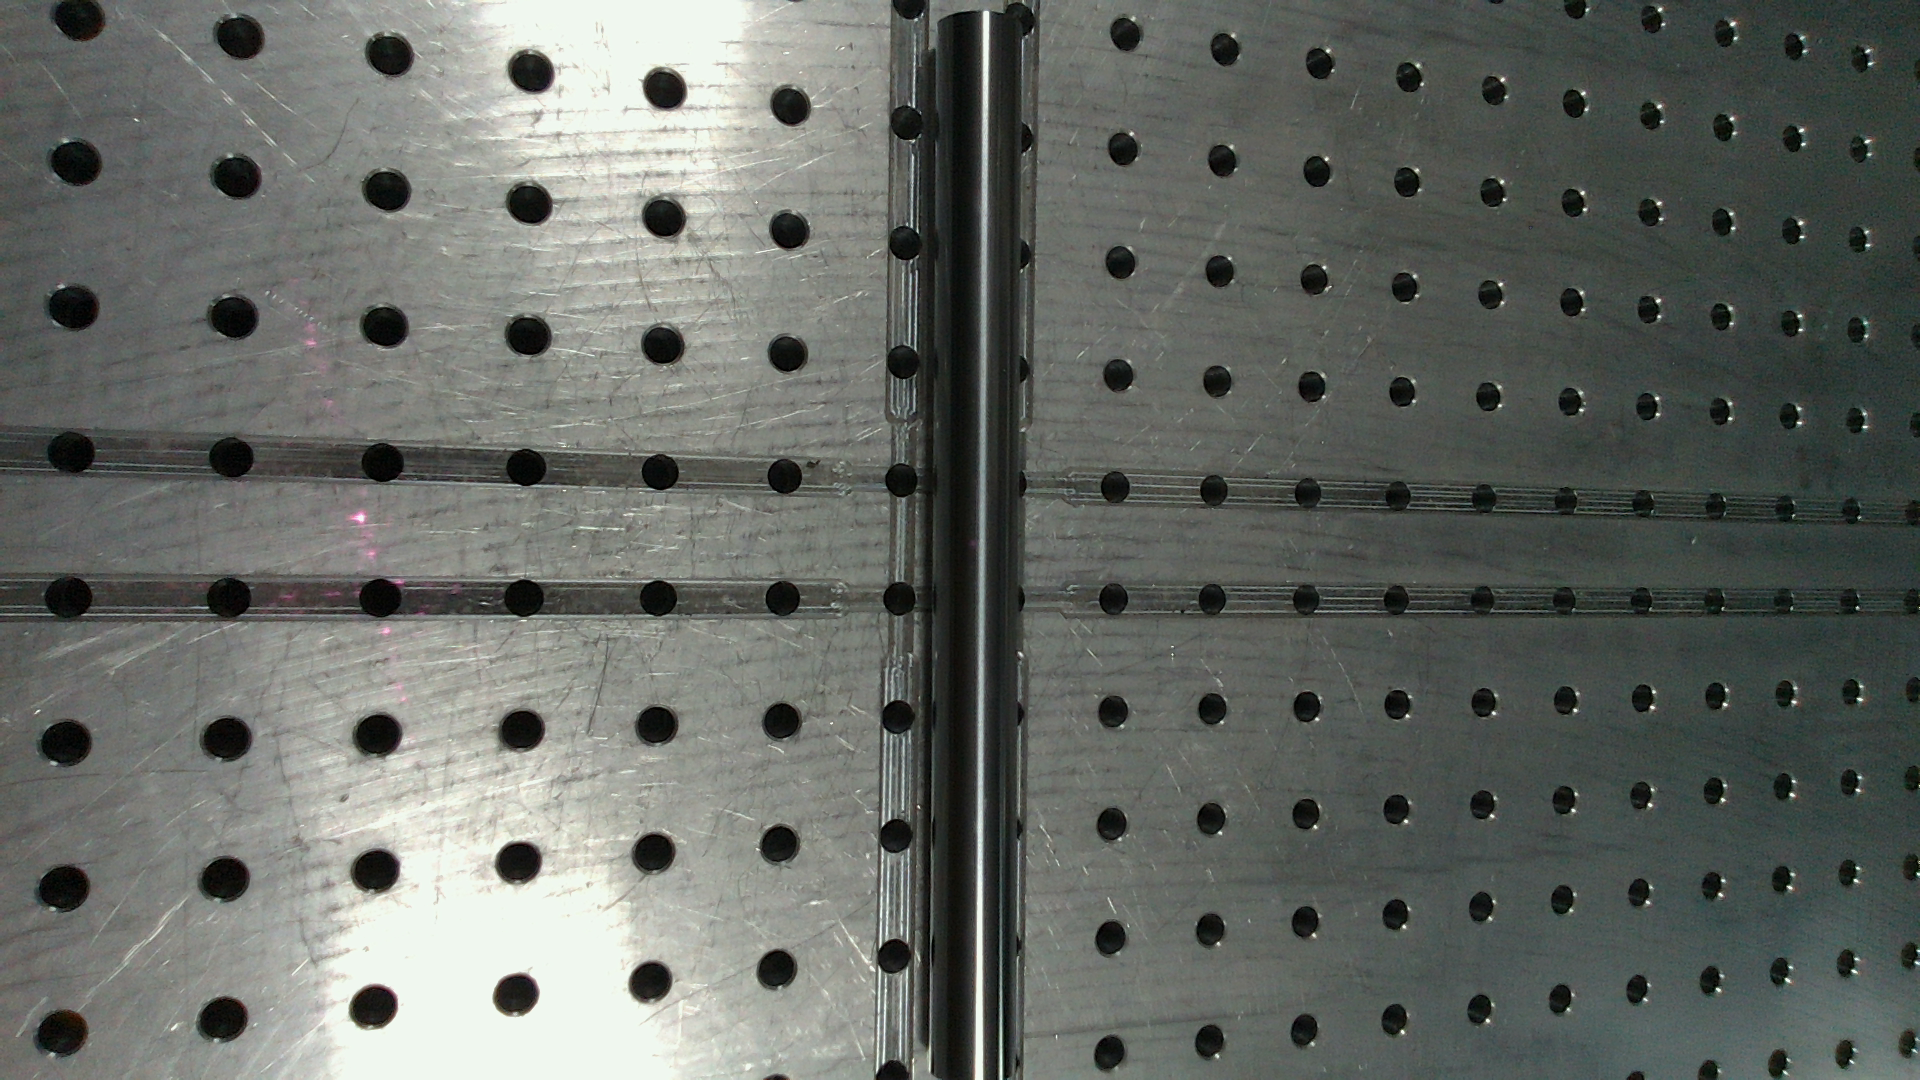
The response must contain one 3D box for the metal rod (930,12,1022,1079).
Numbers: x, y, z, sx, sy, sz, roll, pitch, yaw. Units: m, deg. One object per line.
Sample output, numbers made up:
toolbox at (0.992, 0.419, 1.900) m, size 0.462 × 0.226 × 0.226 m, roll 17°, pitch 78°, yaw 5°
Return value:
metal rod at (0.005, 0.002, 0.397) m, size 0.025 × 0.025 × 0.300 m, roll 0°, pitch 90°, yaw -20°
